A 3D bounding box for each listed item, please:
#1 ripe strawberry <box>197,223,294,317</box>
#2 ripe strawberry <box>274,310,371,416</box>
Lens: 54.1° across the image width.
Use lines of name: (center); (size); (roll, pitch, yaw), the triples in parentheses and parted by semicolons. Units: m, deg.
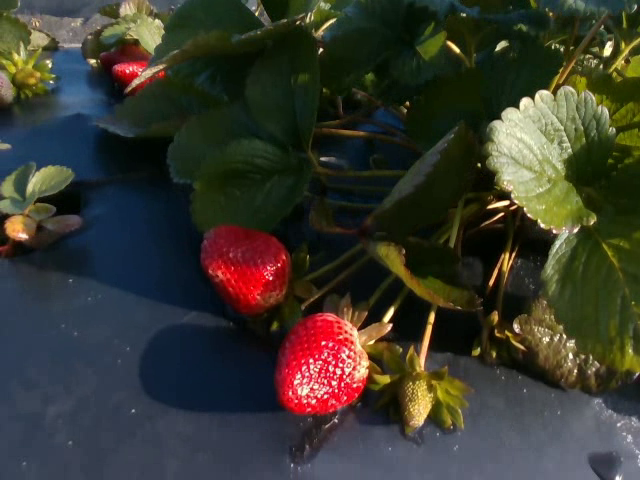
ripe strawberry: (-0.034, 0.013, 0.294); (0.054, 0.048, 0.039); (24, -24, -21)
ripe strawberry: (-0.001, 0.051, 0.245); (0.043, 0.039, 0.053); (40, 30, 11)
